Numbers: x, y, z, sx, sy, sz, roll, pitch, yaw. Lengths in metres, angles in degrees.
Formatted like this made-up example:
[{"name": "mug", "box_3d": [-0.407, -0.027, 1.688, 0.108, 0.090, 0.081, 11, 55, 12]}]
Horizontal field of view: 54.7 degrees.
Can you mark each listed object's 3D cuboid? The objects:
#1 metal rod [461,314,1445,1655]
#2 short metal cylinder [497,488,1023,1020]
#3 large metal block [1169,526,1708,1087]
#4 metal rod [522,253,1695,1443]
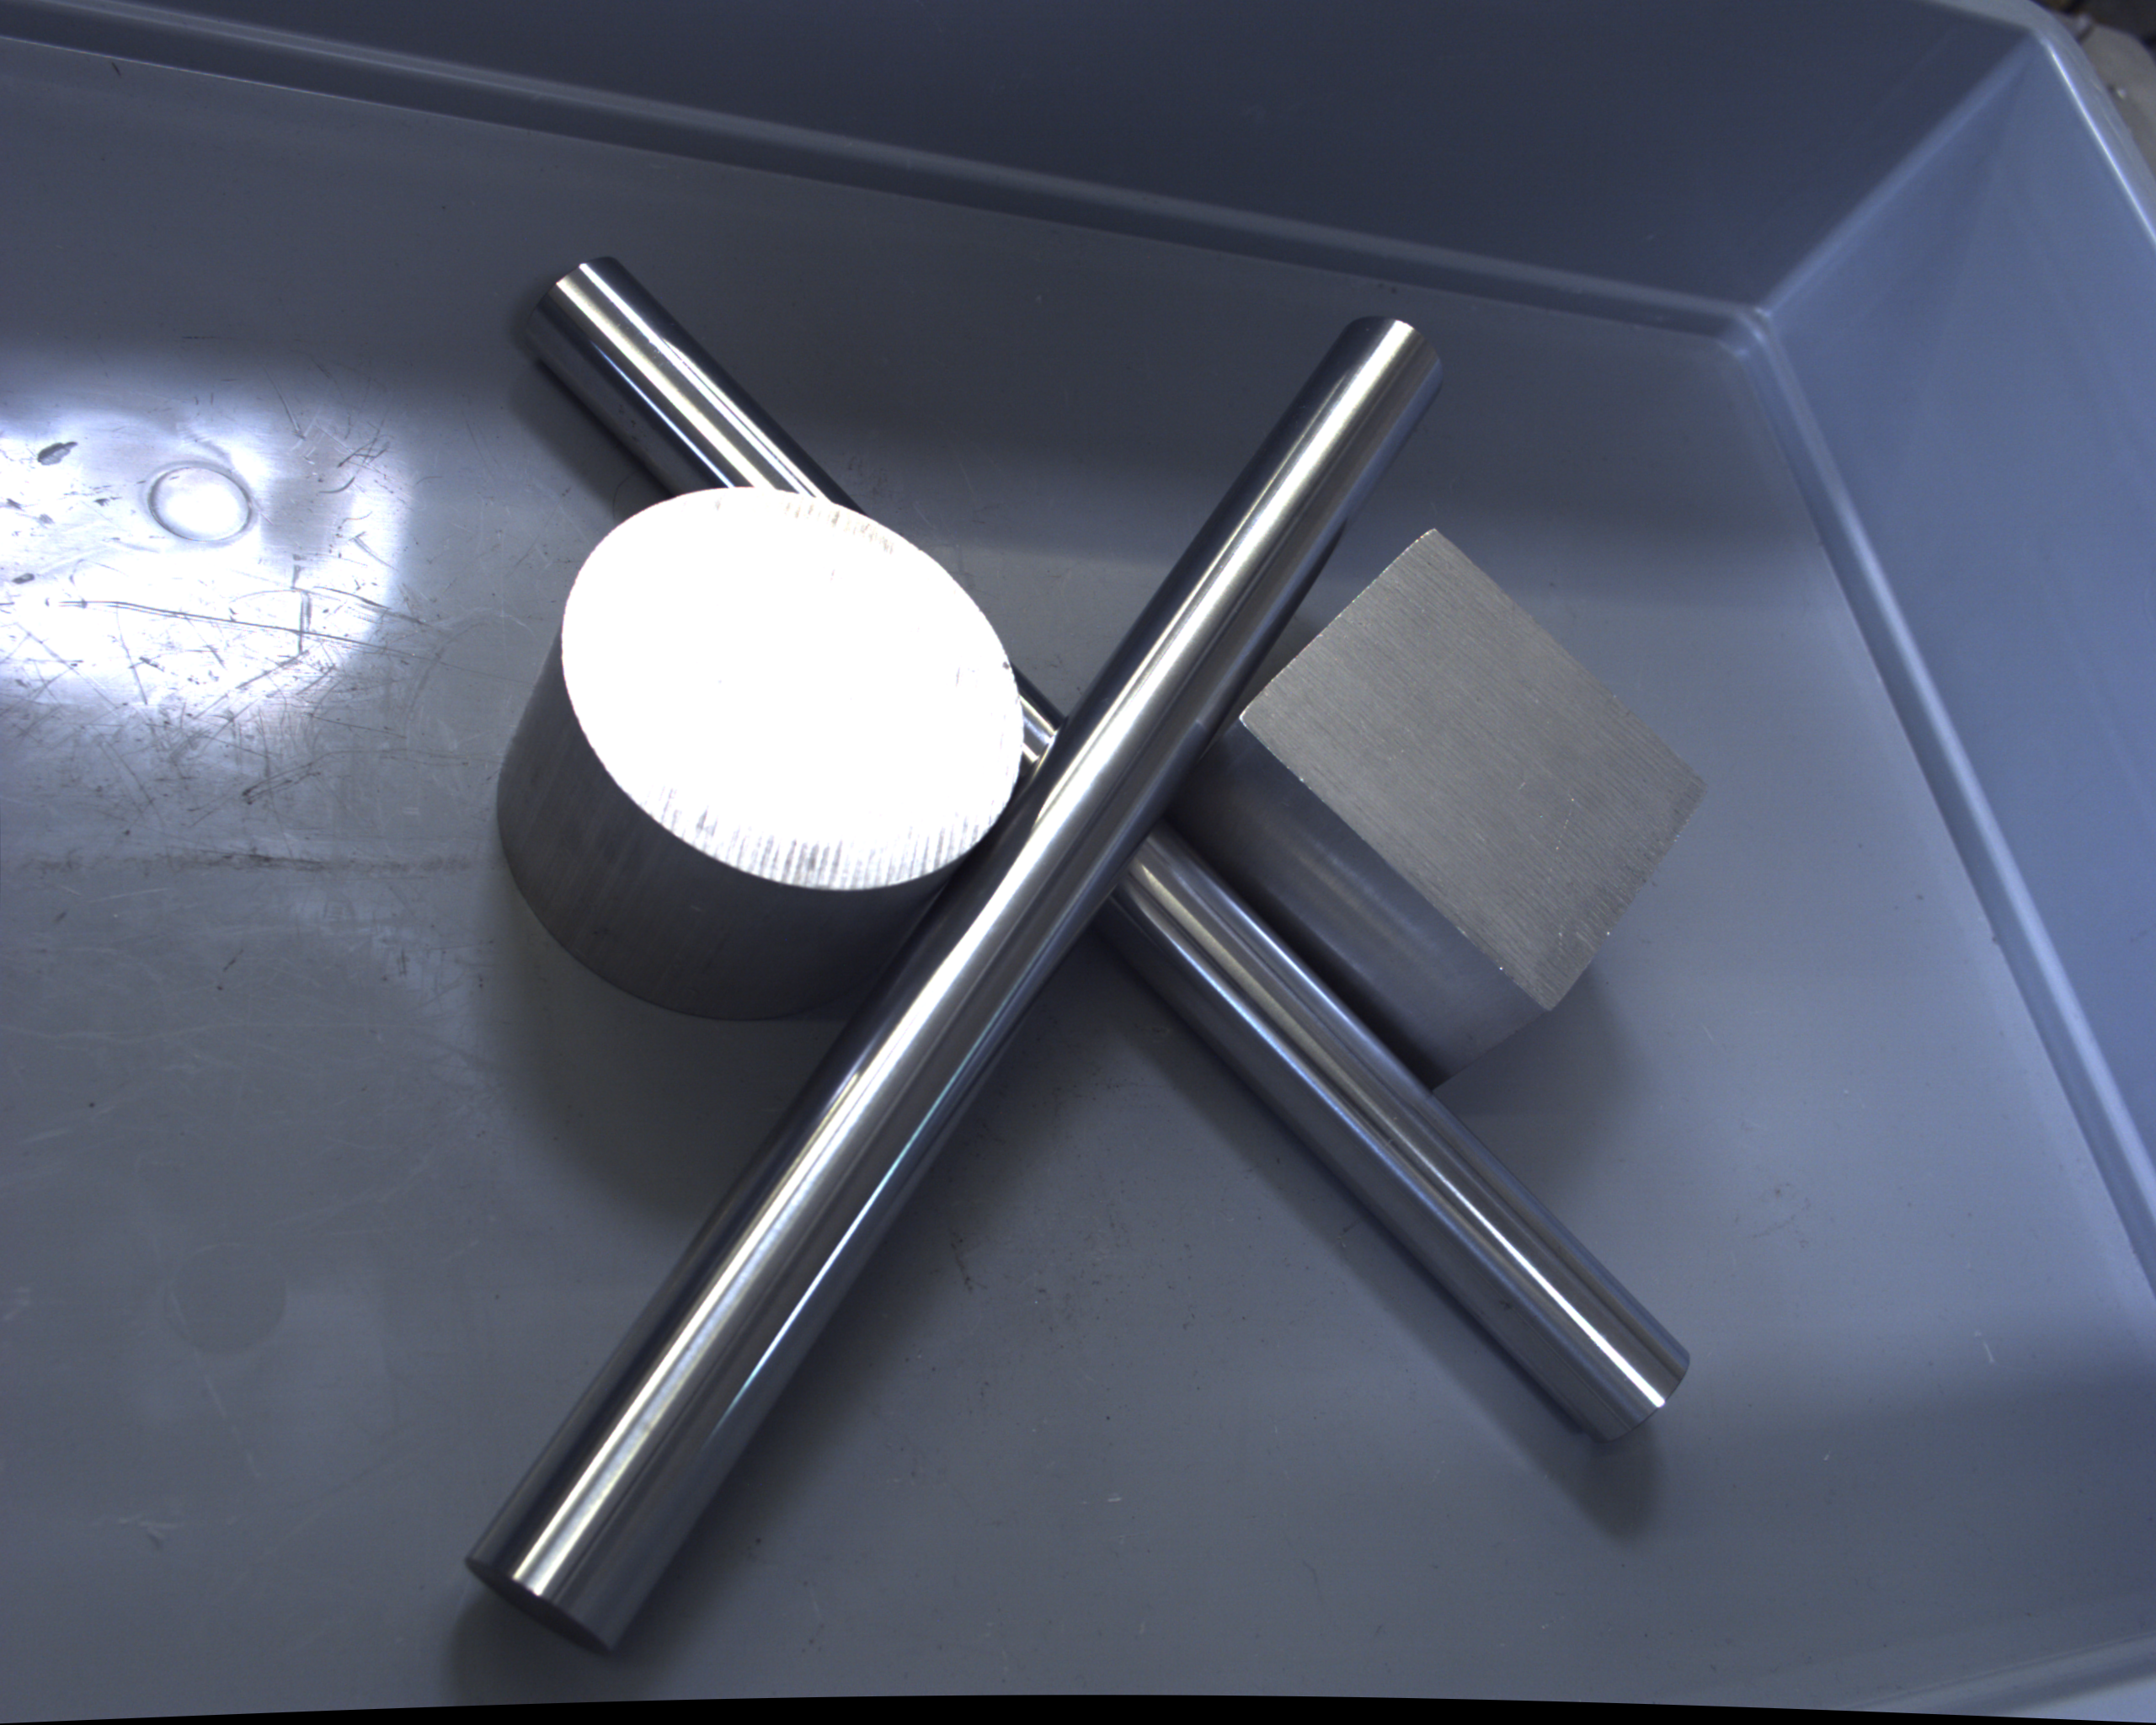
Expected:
[{"name": "metal rod", "box_3d": [-0.005, -0.001, 0.374, 0.025, 0.025, 0.301, 37, 59, -4]}, {"name": "short metal cylinder", "box_3d": [-0.057, -0.019, 0.368, 0.081, 0.050, 0.080, 14, 56, -21]}, {"name": "large metal block", "box_3d": [0.069, -0.010, 0.430, 0.080, 0.050, 0.080, 44, 51, 2]}, {"name": "metal rod", "box_3d": [0.004, -0.005, 0.408, 0.300, 0.025, 0.025, 46, 51, 3]}]
